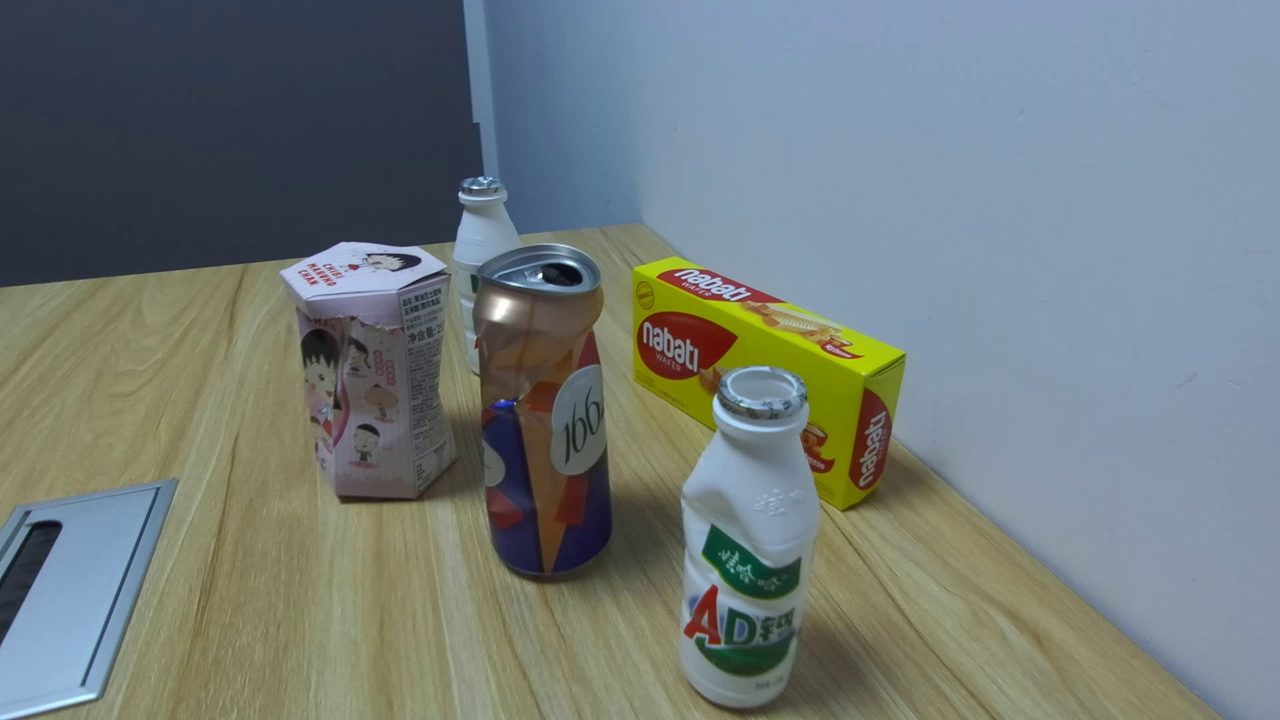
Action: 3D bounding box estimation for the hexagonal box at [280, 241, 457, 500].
[{"bbox_3d":[-0.154,0.006,0.423,0.090,0.134,0.091,3,28,1],"label":"hexagonal box"}]

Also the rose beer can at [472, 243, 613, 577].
[{"bbox_3d":[-0.048,0.029,0.354,0.068,0.162,0.073,-9,30,-17],"label":"rose beer can"}]

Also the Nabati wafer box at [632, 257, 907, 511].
[{"bbox_3d":[0.070,0.006,0.464,0.042,0.093,0.202,-19,34,-35],"label":"Nabati wafer box"}]

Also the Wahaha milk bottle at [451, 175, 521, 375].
[{"bbox_3d":[-0.109,-0.057,0.527,0.053,0.147,0.053,-2,20,1],"label":"Wahaha milk bottle"}]
